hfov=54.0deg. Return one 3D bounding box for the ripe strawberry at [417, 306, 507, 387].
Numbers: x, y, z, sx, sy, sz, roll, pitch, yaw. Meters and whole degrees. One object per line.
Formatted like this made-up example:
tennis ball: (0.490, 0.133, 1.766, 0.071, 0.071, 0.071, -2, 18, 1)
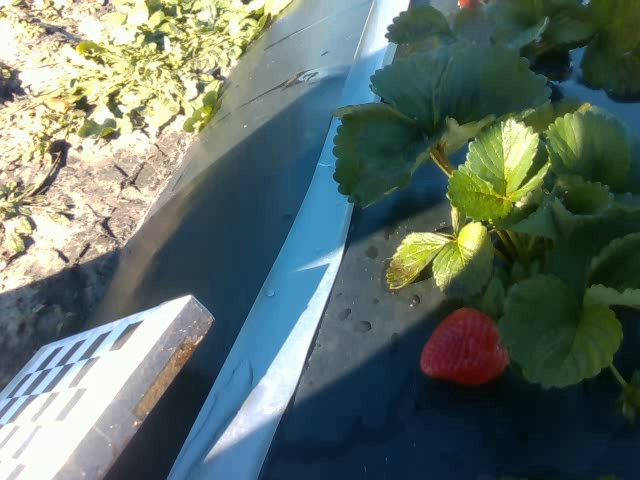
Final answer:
ripe strawberry: (0.075, 0.059, 0.333, 0.058, 0.042, 0.045, -27, 16, -18)
